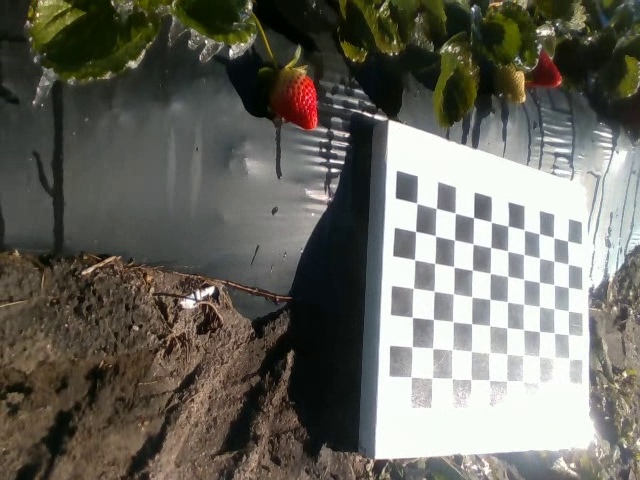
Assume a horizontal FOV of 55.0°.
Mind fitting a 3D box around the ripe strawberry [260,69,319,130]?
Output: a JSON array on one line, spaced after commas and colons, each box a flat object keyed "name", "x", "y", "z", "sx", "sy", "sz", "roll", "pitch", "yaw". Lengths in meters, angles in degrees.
[{"name": "ripe strawberry", "x": -0.015, "y": -0.100, "z": 0.441, "sx": 0.039, "sy": 0.053, "sz": 0.040, "roll": -17, "pitch": -12, "yaw": -35}]
